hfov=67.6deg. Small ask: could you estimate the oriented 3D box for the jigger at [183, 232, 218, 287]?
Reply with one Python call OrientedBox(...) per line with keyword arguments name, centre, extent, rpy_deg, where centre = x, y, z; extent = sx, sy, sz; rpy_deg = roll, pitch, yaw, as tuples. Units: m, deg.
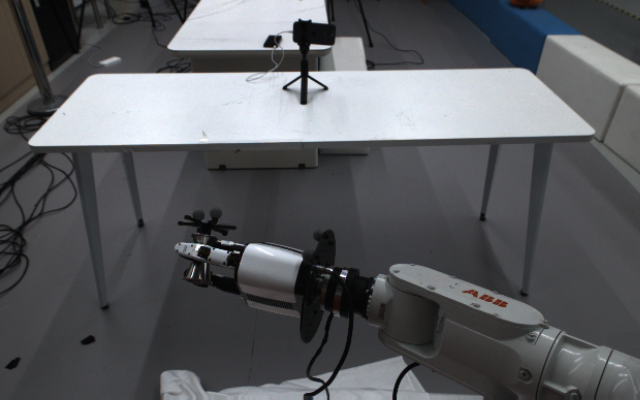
OrientedBox(name="jigger", centre=(-0.176, 0.086, 0.712), extent=(0.043, 0.043, 0.071), rpy_deg=(5, 71, 4))
